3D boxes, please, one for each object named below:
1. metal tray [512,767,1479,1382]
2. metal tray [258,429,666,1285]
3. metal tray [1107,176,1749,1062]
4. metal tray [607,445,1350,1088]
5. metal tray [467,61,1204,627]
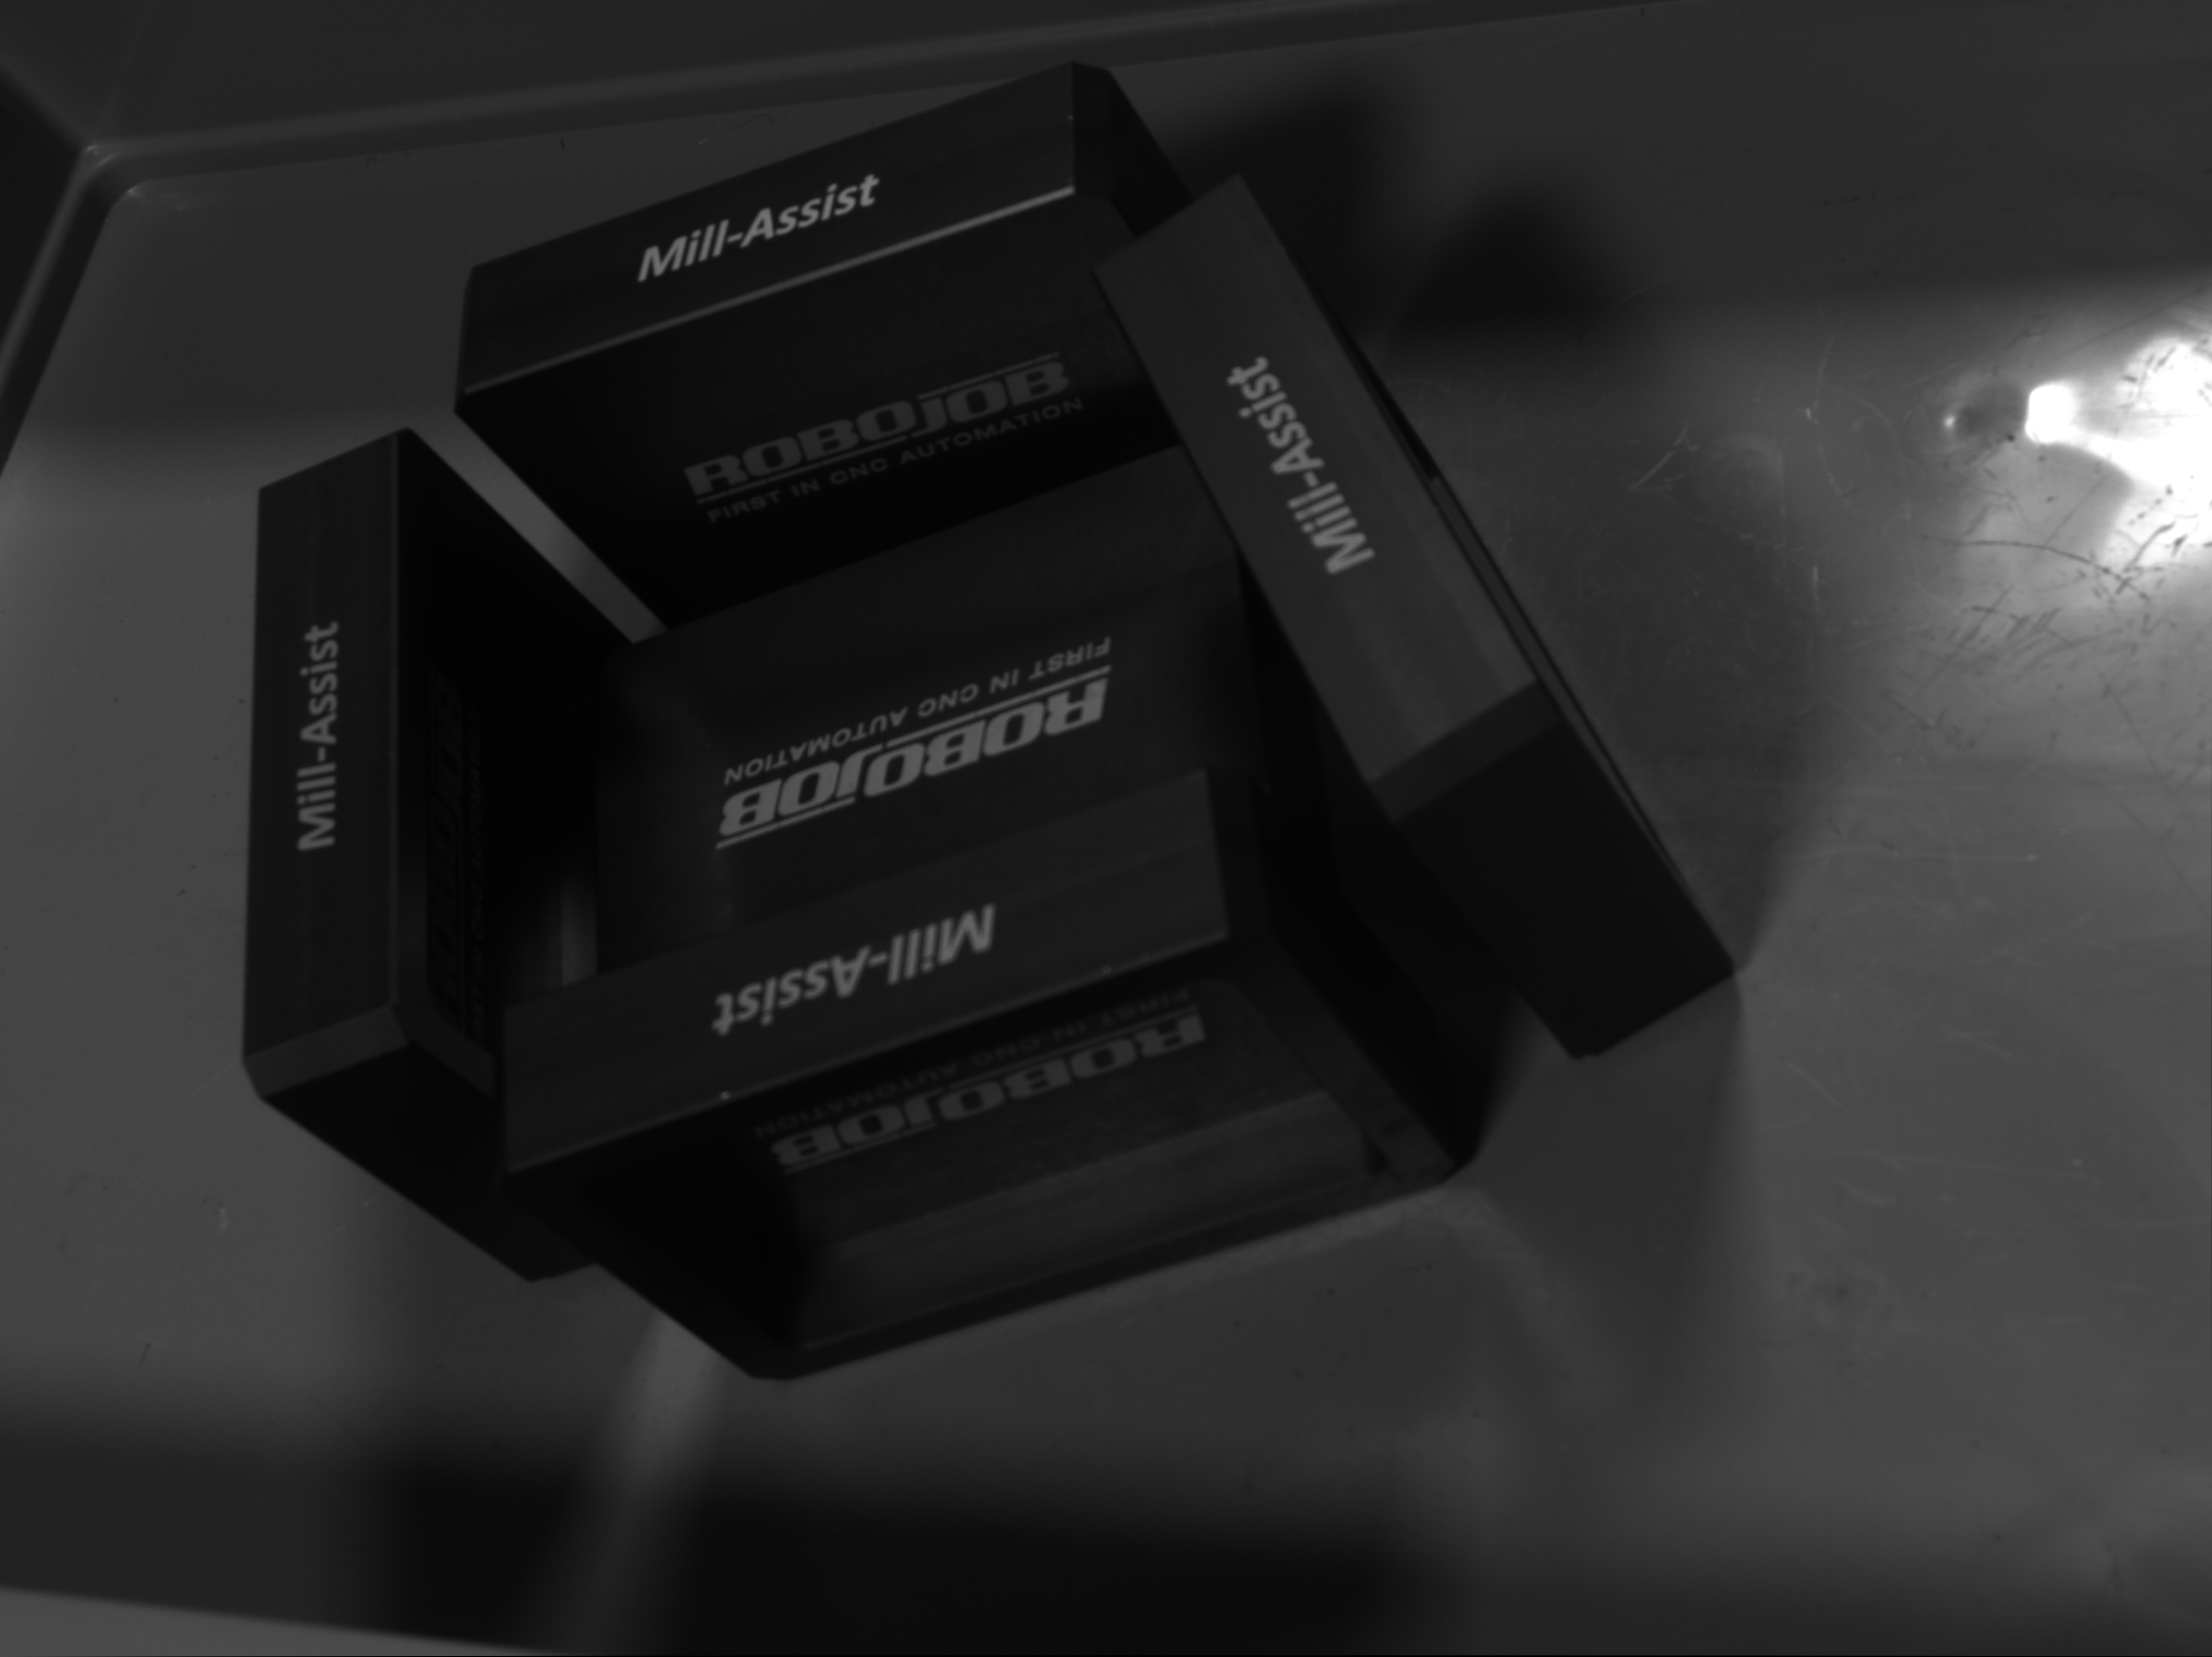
[{"bbox_3d":[-0.017,0.043,0.583,0.130,0.090,0.030,-19,54,17],"label":"metal tray"},{"bbox_3d":[-0.112,0.005,0.657,0.030,0.090,0.130,-19,54,17],"label":"metal tray"},{"bbox_3d":[0.052,-0.035,0.595,0.030,0.090,0.130,-32,51,9],"label":"metal tray"},{"bbox_3d":[-0.026,-0.008,0.657,0.130,0.030,0.090,-18,54,18],"label":"metal tray"},{"bbox_3d":[-0.039,-0.083,0.673,0.130,0.090,0.030,-15,55,20],"label":"metal tray"}]
